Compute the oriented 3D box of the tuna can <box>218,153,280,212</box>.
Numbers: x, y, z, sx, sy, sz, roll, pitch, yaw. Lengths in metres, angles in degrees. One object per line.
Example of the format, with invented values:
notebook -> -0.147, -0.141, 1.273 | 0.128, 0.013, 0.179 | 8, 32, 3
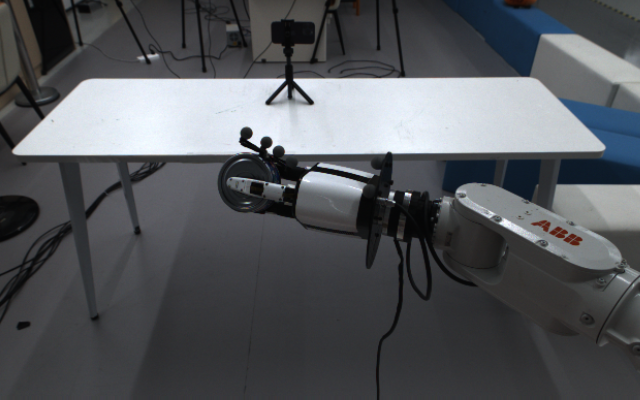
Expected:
tuna can -> -0.098, -0.018, 0.684 | 0.085, 0.085, 0.034 | 12, 4, 14
